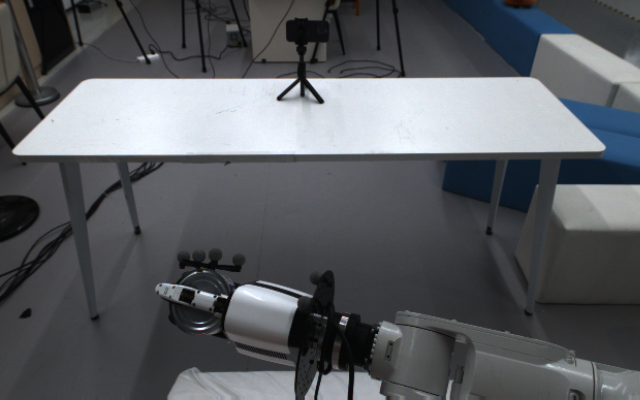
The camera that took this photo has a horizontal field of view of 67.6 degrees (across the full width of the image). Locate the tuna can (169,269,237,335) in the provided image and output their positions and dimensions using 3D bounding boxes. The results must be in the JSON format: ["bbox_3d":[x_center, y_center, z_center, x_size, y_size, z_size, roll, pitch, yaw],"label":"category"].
[{"bbox_3d":[-0.151,0.136,0.639,0.085,0.034,0.085,-3,73,9],"label":"tuna can"}]
